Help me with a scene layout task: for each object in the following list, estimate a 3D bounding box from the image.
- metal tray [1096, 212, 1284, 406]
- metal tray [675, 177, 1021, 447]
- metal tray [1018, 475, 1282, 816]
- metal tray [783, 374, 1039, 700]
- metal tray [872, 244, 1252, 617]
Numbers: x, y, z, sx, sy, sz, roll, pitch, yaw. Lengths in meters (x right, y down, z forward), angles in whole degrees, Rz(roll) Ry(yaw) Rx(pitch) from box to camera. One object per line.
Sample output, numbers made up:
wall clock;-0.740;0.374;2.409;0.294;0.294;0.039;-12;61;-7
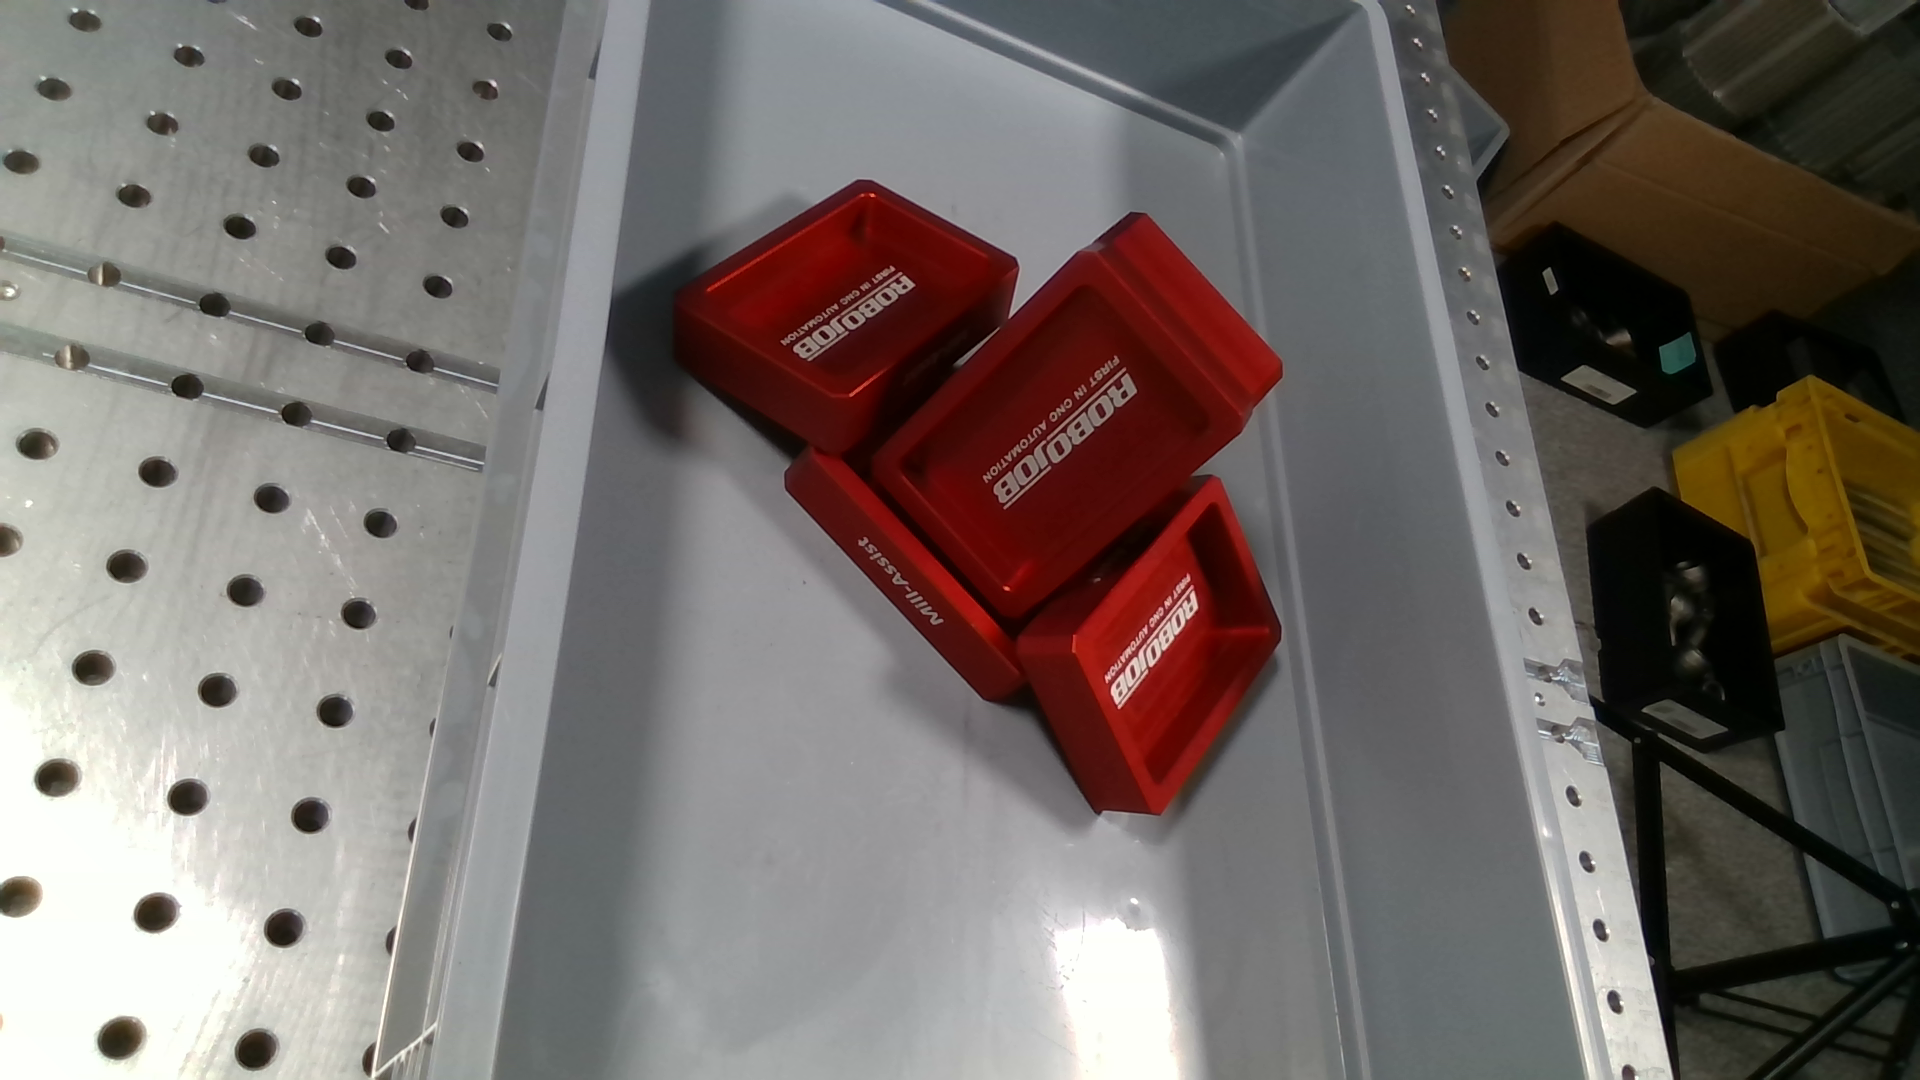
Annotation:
metal tray;0.063;-0.066;0.590;0.090;0.130;0.030;47;50;-1
metal tray;-0.046;-0.101;0.585;0.090;0.030;0.130;32;49;17
metal tray;0.086;0.043;0.589;0.130;0.030;0.090;-45;118;-39
metal tray;0.000;-0.008;0.585;0.130;0.030;0.090;47;51;-2
metal tray;0.039;-0.042;0.547;0.090;0.130;0.030;48;27;-1
